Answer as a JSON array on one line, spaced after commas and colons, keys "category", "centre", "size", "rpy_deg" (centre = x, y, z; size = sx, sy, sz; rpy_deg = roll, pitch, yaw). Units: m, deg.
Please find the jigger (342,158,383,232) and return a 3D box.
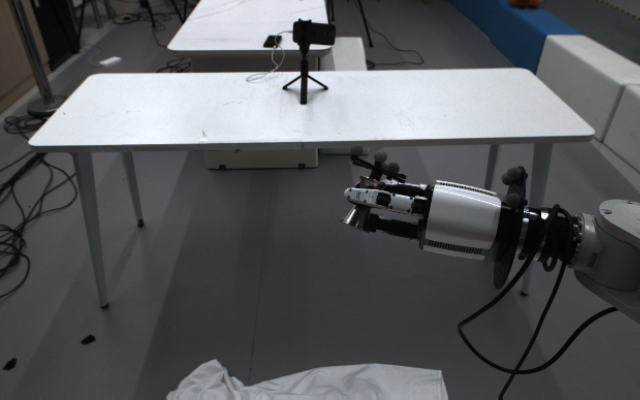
[{"category": "jigger", "centre": [0.057, 0.004, 0.651], "size": [0.043, 0.071, 0.043], "rpy_deg": [24, -3, 1]}]
